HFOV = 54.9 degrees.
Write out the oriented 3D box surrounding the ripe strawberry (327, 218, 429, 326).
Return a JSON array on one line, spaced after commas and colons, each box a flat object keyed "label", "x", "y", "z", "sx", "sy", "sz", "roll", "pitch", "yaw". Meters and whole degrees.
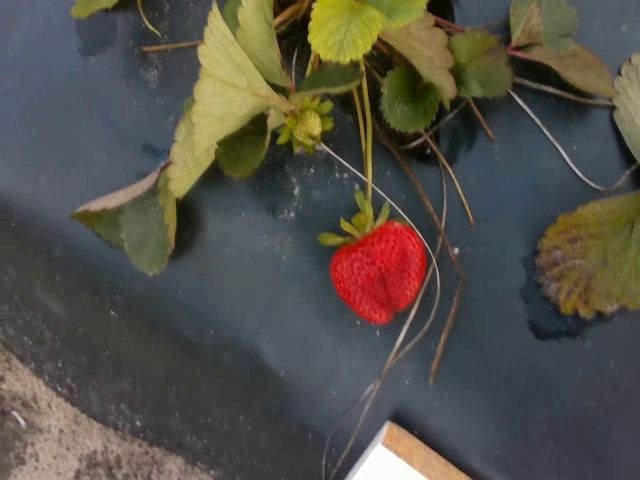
[{"label": "ripe strawberry", "x": 0.007, "y": 0.006, "z": 0.083, "sx": 0.013, "sy": 0.015, "sz": 0.017, "roll": 24, "pitch": -48, "yaw": -40}]
